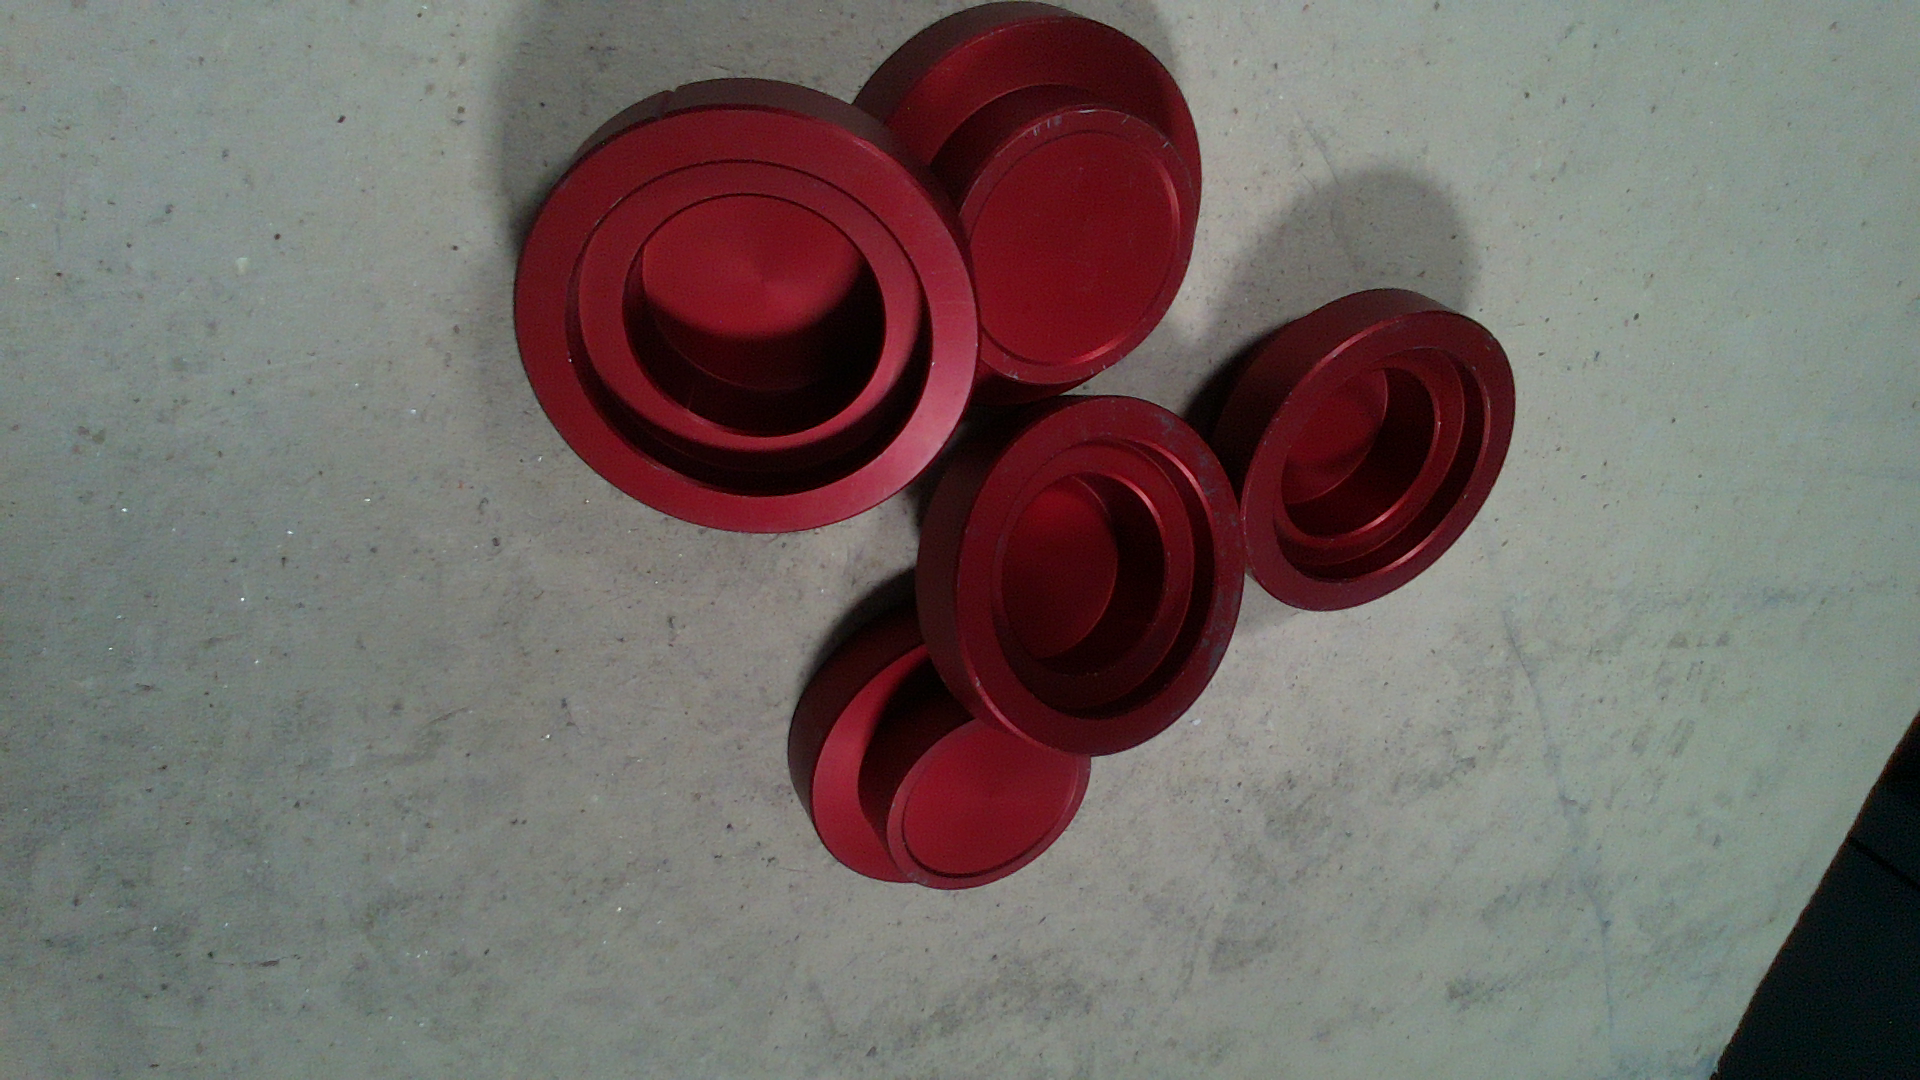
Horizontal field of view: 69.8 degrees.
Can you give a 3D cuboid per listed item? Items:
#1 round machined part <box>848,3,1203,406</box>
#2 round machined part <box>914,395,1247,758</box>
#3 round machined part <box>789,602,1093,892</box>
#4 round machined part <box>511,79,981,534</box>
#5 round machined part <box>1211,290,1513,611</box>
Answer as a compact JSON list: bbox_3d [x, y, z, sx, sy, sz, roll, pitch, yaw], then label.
[{"bbox_3d":[0.019,-0.078,0.340,0.098,0.042,0.098,-14,124,-21],"label":"round machined part"},{"bbox_3d":[0.030,0.008,0.386,0.098,0.042,0.098,-4,97,-30],"label":"round machined part"},{"bbox_3d":[0.001,0.067,0.419,0.098,0.042,0.098,-14,124,-21],"label":"round machined part"},{"bbox_3d":[-0.045,-0.053,0.307,0.098,0.042,0.098,-2,123,-2],"label":"round machined part"},{"bbox_3d":[0.117,-0.031,0.423,0.098,0.042,0.098,-14,124,-21],"label":"round machined part"}]
